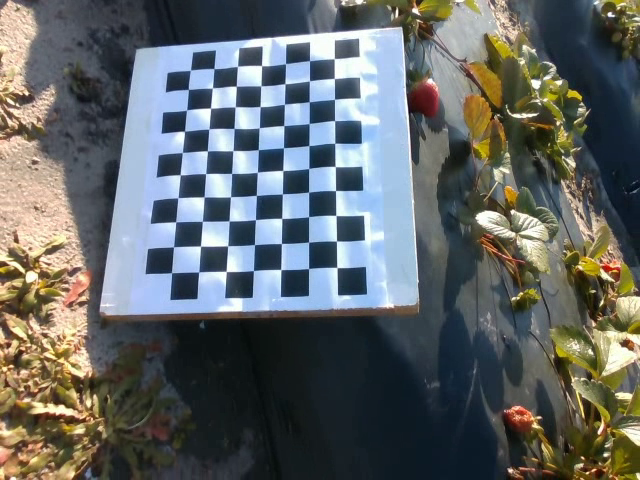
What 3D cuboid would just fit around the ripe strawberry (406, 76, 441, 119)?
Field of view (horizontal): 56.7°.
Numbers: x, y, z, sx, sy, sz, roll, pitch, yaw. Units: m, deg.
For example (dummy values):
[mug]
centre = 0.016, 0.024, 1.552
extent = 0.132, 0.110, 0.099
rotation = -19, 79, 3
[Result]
[ripe strawberry]
centre = 0.127, -0.165, 0.702
extent = 0.044, 0.064, 0.044
rotation = -19, -21, -1
